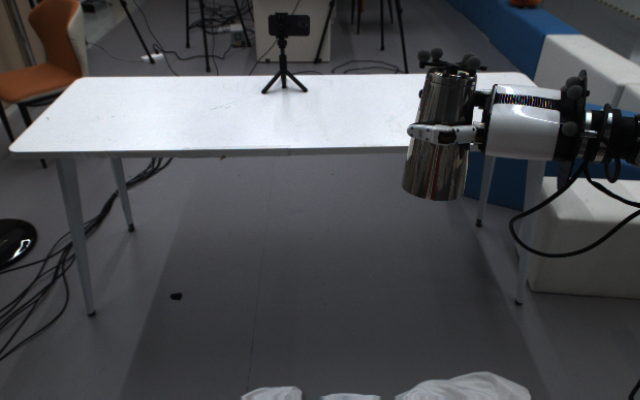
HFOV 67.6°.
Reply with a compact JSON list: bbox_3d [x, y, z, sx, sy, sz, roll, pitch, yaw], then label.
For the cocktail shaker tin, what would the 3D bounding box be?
[{"bbox_3d":[0.173,-0.096,0.686,0.093,0.170,0.093,3,25,-1],"label":"cocktail shaker tin"}]
